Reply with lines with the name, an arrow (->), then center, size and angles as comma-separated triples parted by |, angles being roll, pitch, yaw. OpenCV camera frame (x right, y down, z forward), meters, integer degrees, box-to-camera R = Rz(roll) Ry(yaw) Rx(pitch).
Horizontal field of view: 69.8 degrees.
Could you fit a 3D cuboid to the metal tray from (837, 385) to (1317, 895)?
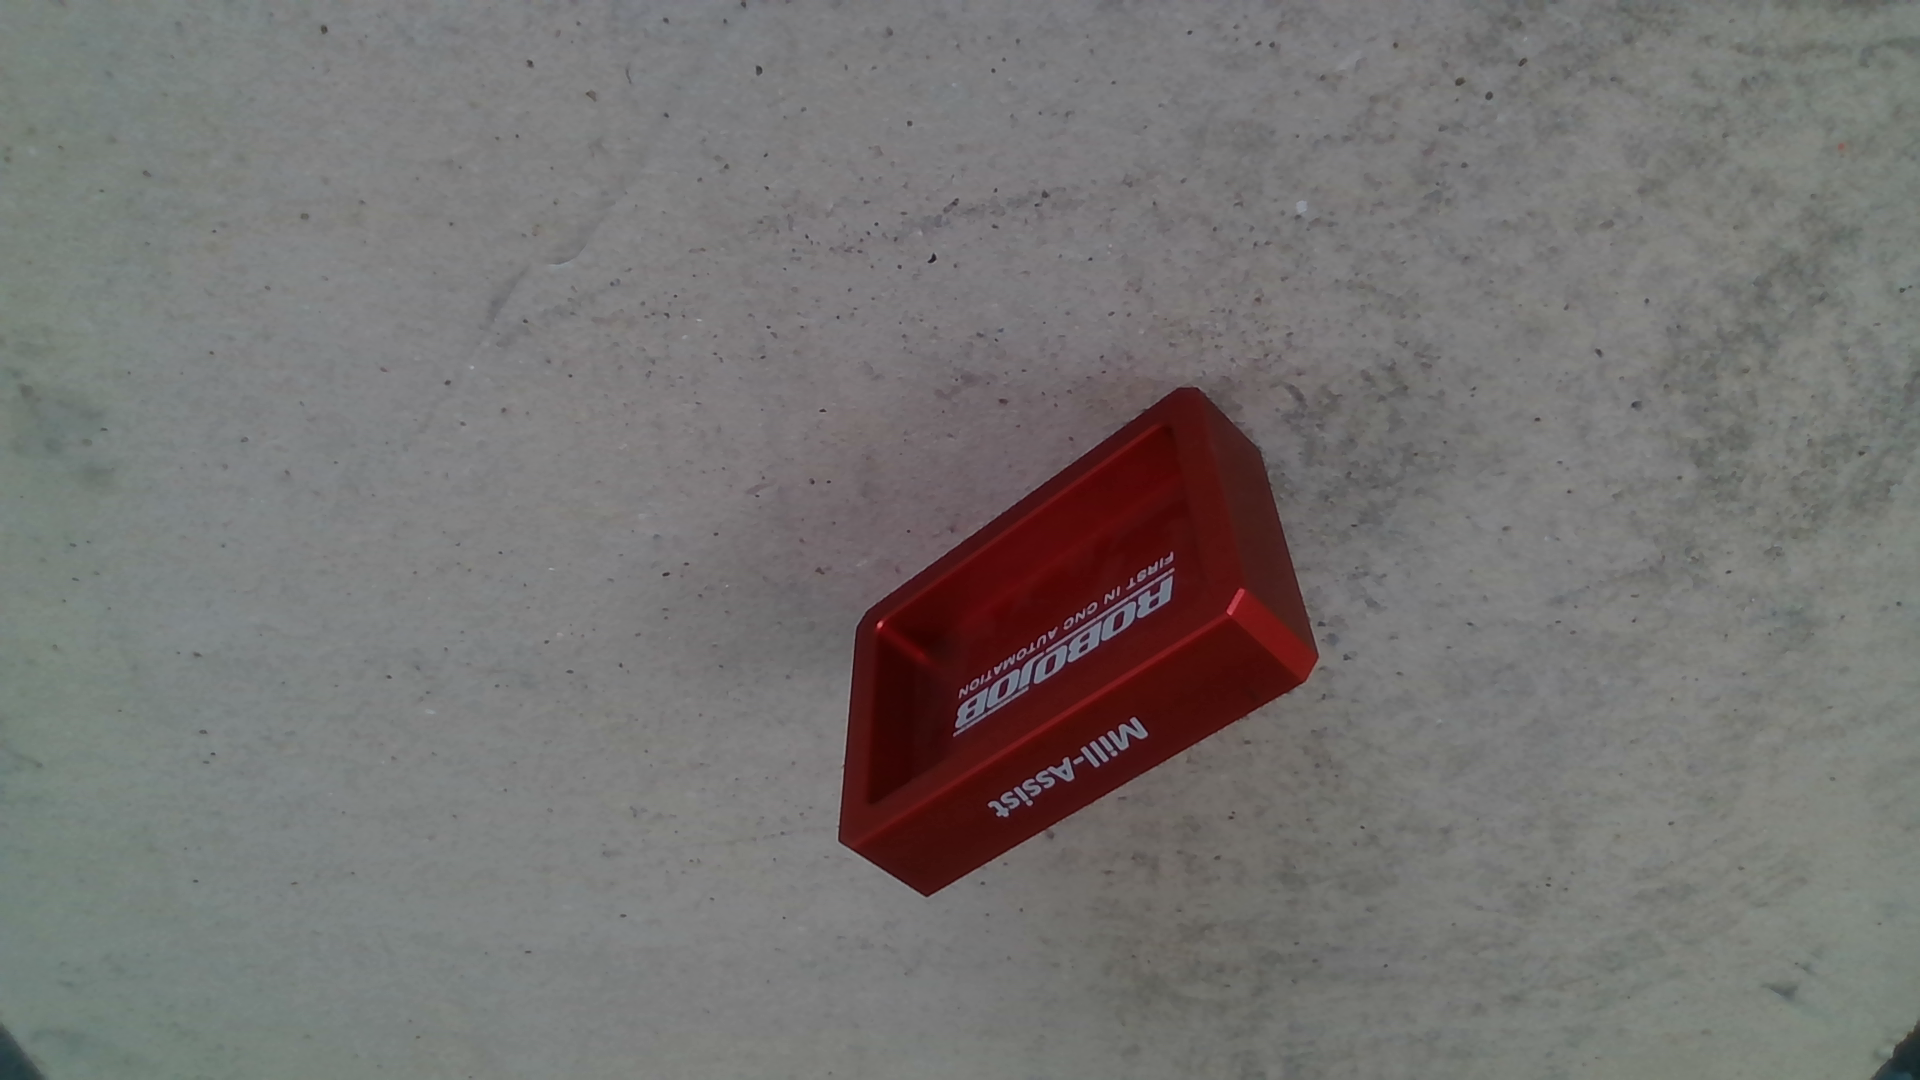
metal tray -> 0.025, 0.027, 0.368 | 0.130, 0.090, 0.030 | -35, 122, 27
